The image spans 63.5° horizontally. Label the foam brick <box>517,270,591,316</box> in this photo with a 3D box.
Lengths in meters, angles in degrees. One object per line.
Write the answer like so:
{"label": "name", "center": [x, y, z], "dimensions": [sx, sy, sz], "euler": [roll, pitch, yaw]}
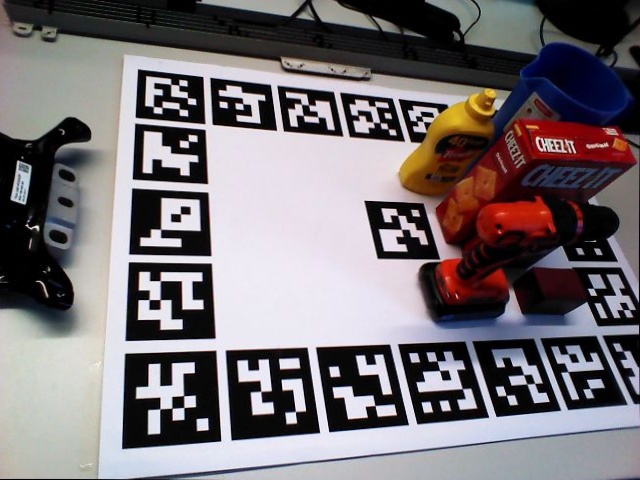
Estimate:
{"label": "foam brick", "center": [0.337, 0.078, 0.749], "dimensions": [0.078, 0.052, 0.052], "euler": [4, 61, -16]}

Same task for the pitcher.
{"label": "pitcher", "center": [0.334, -0.153, 0.775], "dimensions": [0.189, 0.244, 0.132], "euler": [7, 59, -12]}

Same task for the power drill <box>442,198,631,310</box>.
{"label": "power drill", "center": [0.250, 0.021, 0.632], "dimensions": [0.184, 0.188, 0.057], "euler": [1, 57, -18]}

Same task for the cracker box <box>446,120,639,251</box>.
{"label": "cracker box", "center": [0.300, -0.064, 0.717], "dimensions": [0.164, 0.215, 0.071], "euler": [-1, 59, -16]}

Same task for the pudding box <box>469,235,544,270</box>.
{"label": "pudding box", "center": [0.284, 0.004, 0.737], "dimensions": [0.114, 0.090, 0.038], "euler": [2, 58, -14]}

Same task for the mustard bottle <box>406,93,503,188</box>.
{"label": "mustard bottle", "center": [0.204, -0.152, 0.747], "dimensions": [0.096, 0.193, 0.058], "euler": [14, 58, -10]}
